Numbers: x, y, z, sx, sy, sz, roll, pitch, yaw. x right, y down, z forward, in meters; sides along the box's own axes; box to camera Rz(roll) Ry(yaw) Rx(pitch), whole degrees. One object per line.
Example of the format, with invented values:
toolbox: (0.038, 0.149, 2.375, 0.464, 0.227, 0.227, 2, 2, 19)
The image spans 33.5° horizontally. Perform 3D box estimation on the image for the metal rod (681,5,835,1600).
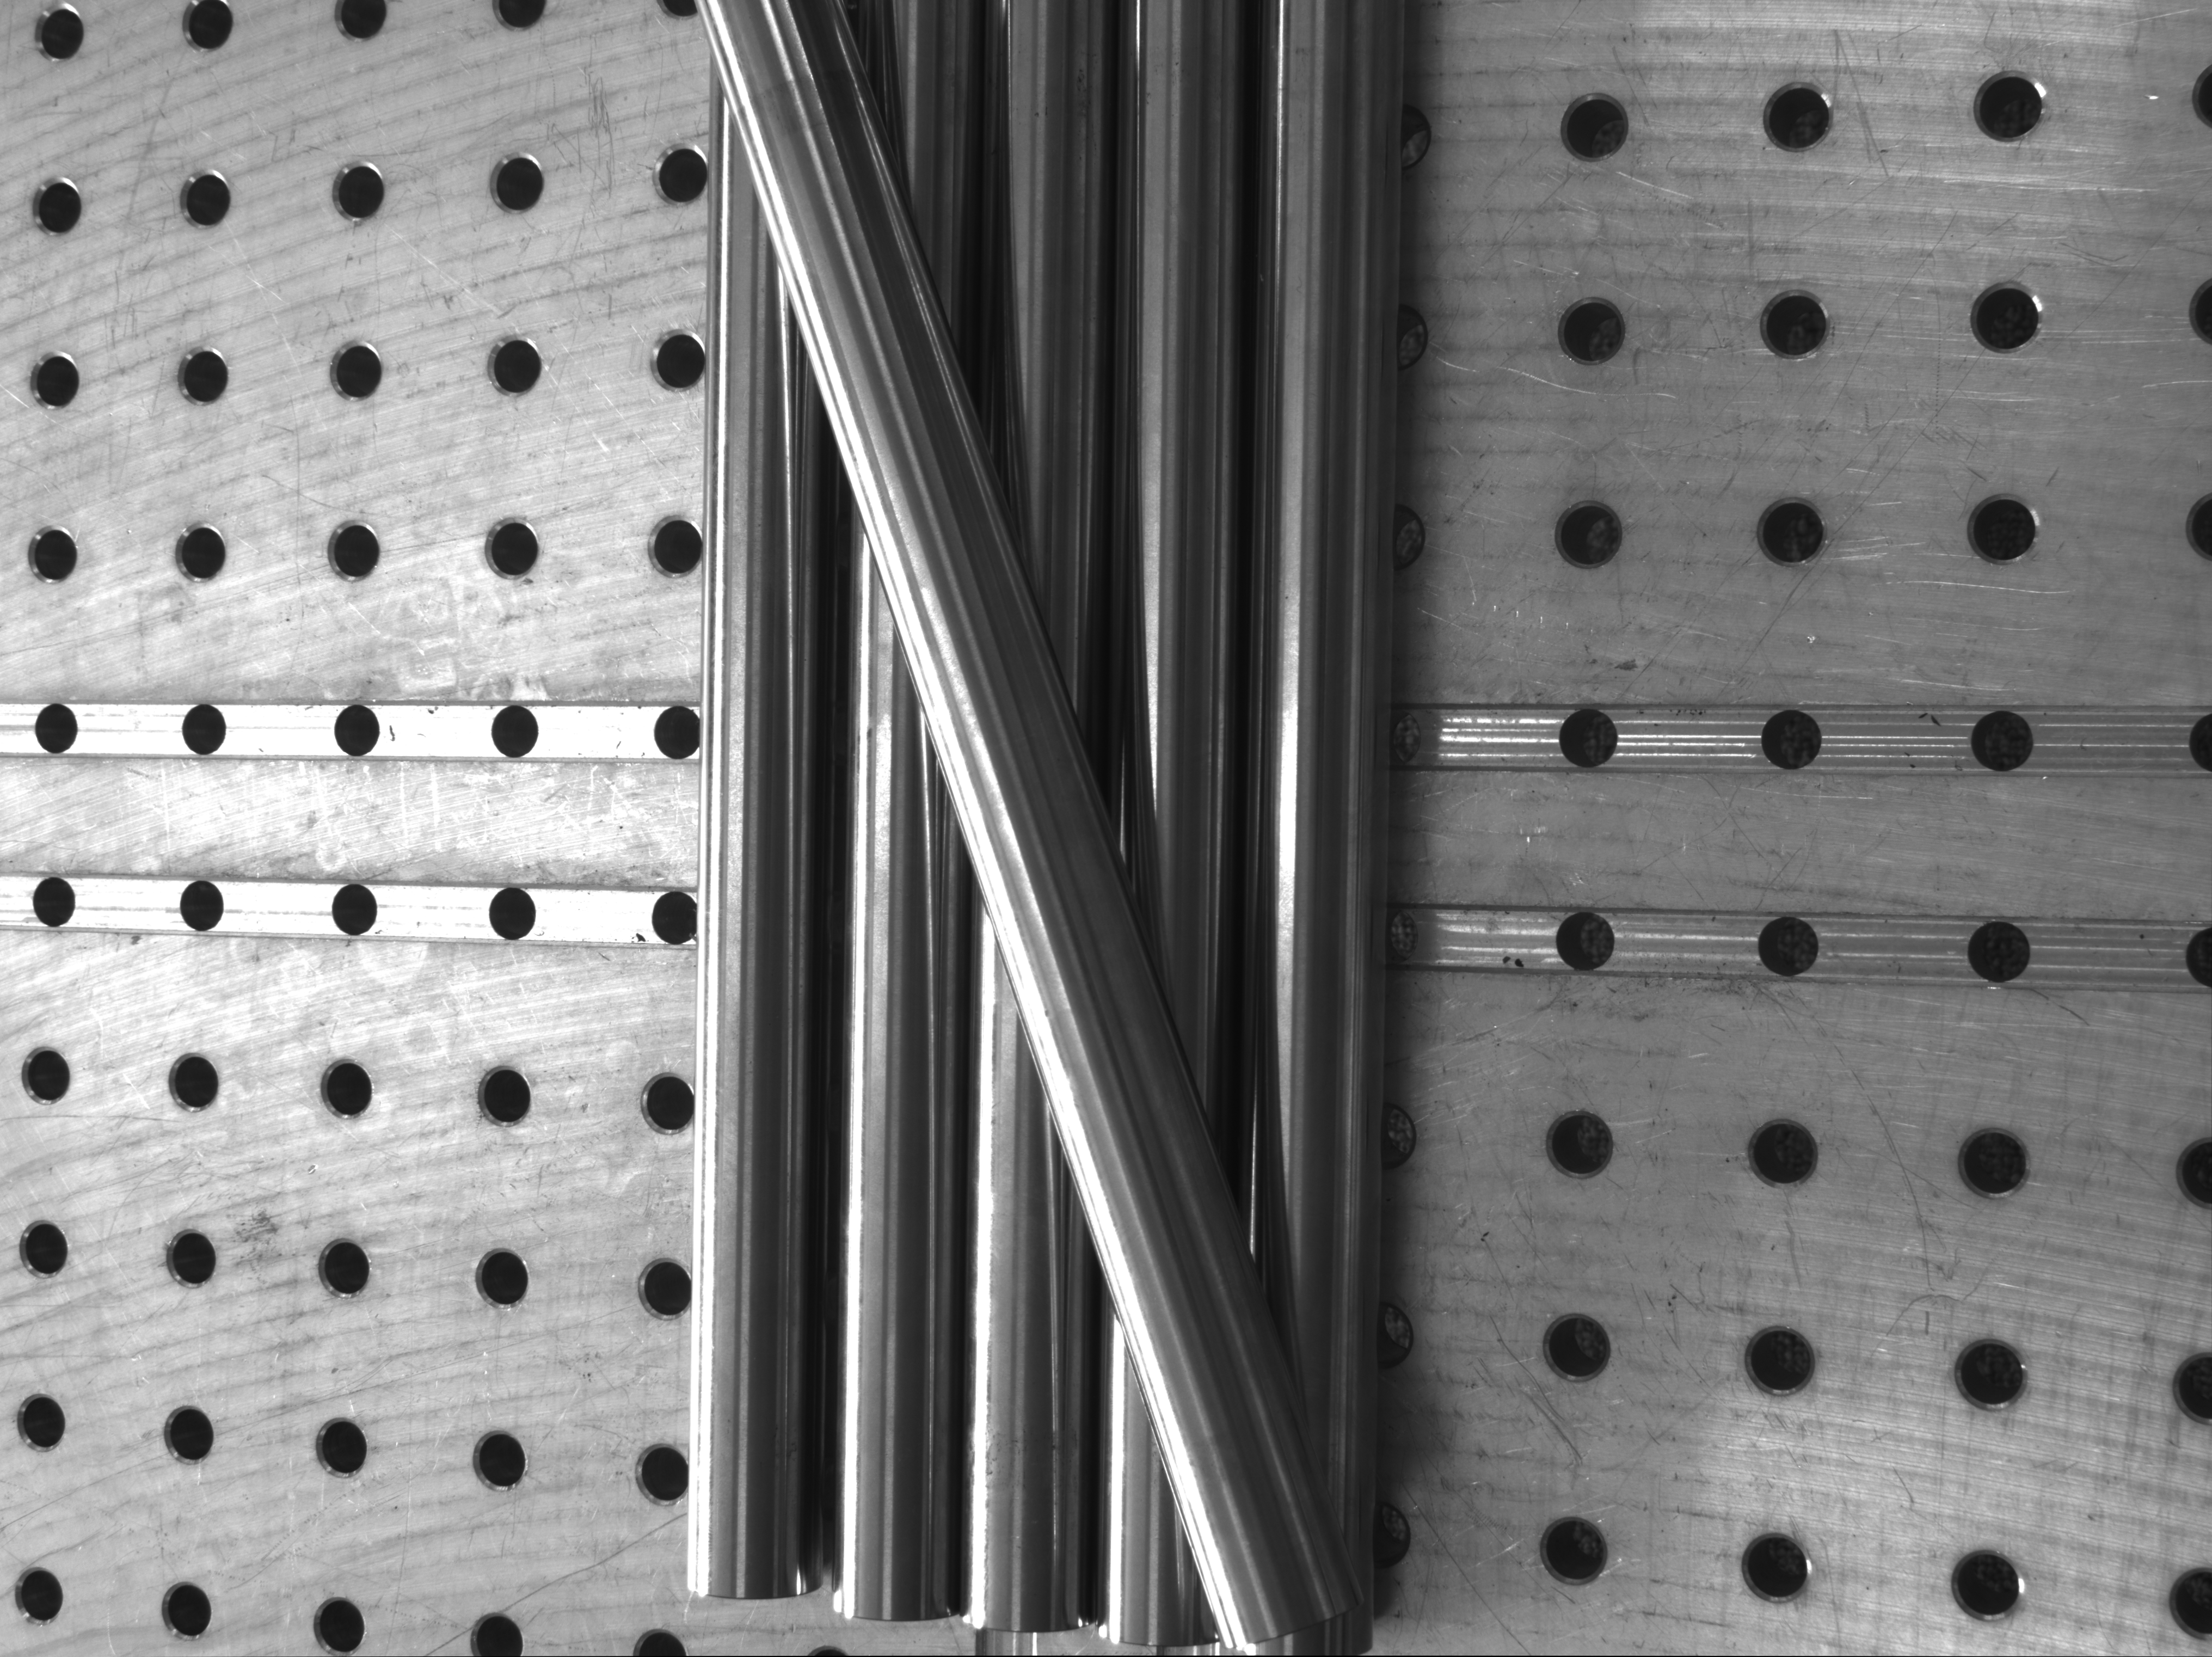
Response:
metal rod: (-0.063, -0.011, 0.671, 0.025, 0.025, 0.300, 1, 90, 20)

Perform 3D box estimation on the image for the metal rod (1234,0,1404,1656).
metal rod: (0.036, -0.008, 0.637, 0.025, 0.025, 0.300, 1, 90, 20)

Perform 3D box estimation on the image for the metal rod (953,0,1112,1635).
metal rod: (-0.013, -0.009, 0.653, 0.025, 0.025, 0.300, 1, 90, 20)

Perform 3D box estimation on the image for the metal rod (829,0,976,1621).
metal rod: (-0.035, -0.010, 0.661, 0.025, 0.025, 0.300, 1, 90, 20)

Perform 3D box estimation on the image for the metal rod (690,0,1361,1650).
metal rod: (-0.016, -0.009, 0.628, 0.025, 0.025, 0.300, -20, 83, 19)

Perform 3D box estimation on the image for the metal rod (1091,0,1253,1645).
metal rod: (0.012, -0.009, 0.646, 0.025, 0.025, 0.300, 1, 90, 20)
